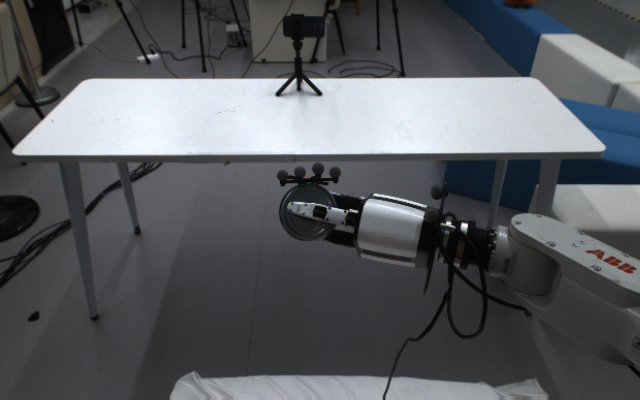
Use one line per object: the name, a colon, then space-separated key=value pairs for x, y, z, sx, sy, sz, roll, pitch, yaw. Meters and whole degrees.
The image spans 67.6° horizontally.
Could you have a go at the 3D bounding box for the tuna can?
tuna can: x=-0.013 y=0.023 z=0.711 sx=0.085 sy=0.085 sz=0.034 roll=10 pitch=-6 yaw=11
